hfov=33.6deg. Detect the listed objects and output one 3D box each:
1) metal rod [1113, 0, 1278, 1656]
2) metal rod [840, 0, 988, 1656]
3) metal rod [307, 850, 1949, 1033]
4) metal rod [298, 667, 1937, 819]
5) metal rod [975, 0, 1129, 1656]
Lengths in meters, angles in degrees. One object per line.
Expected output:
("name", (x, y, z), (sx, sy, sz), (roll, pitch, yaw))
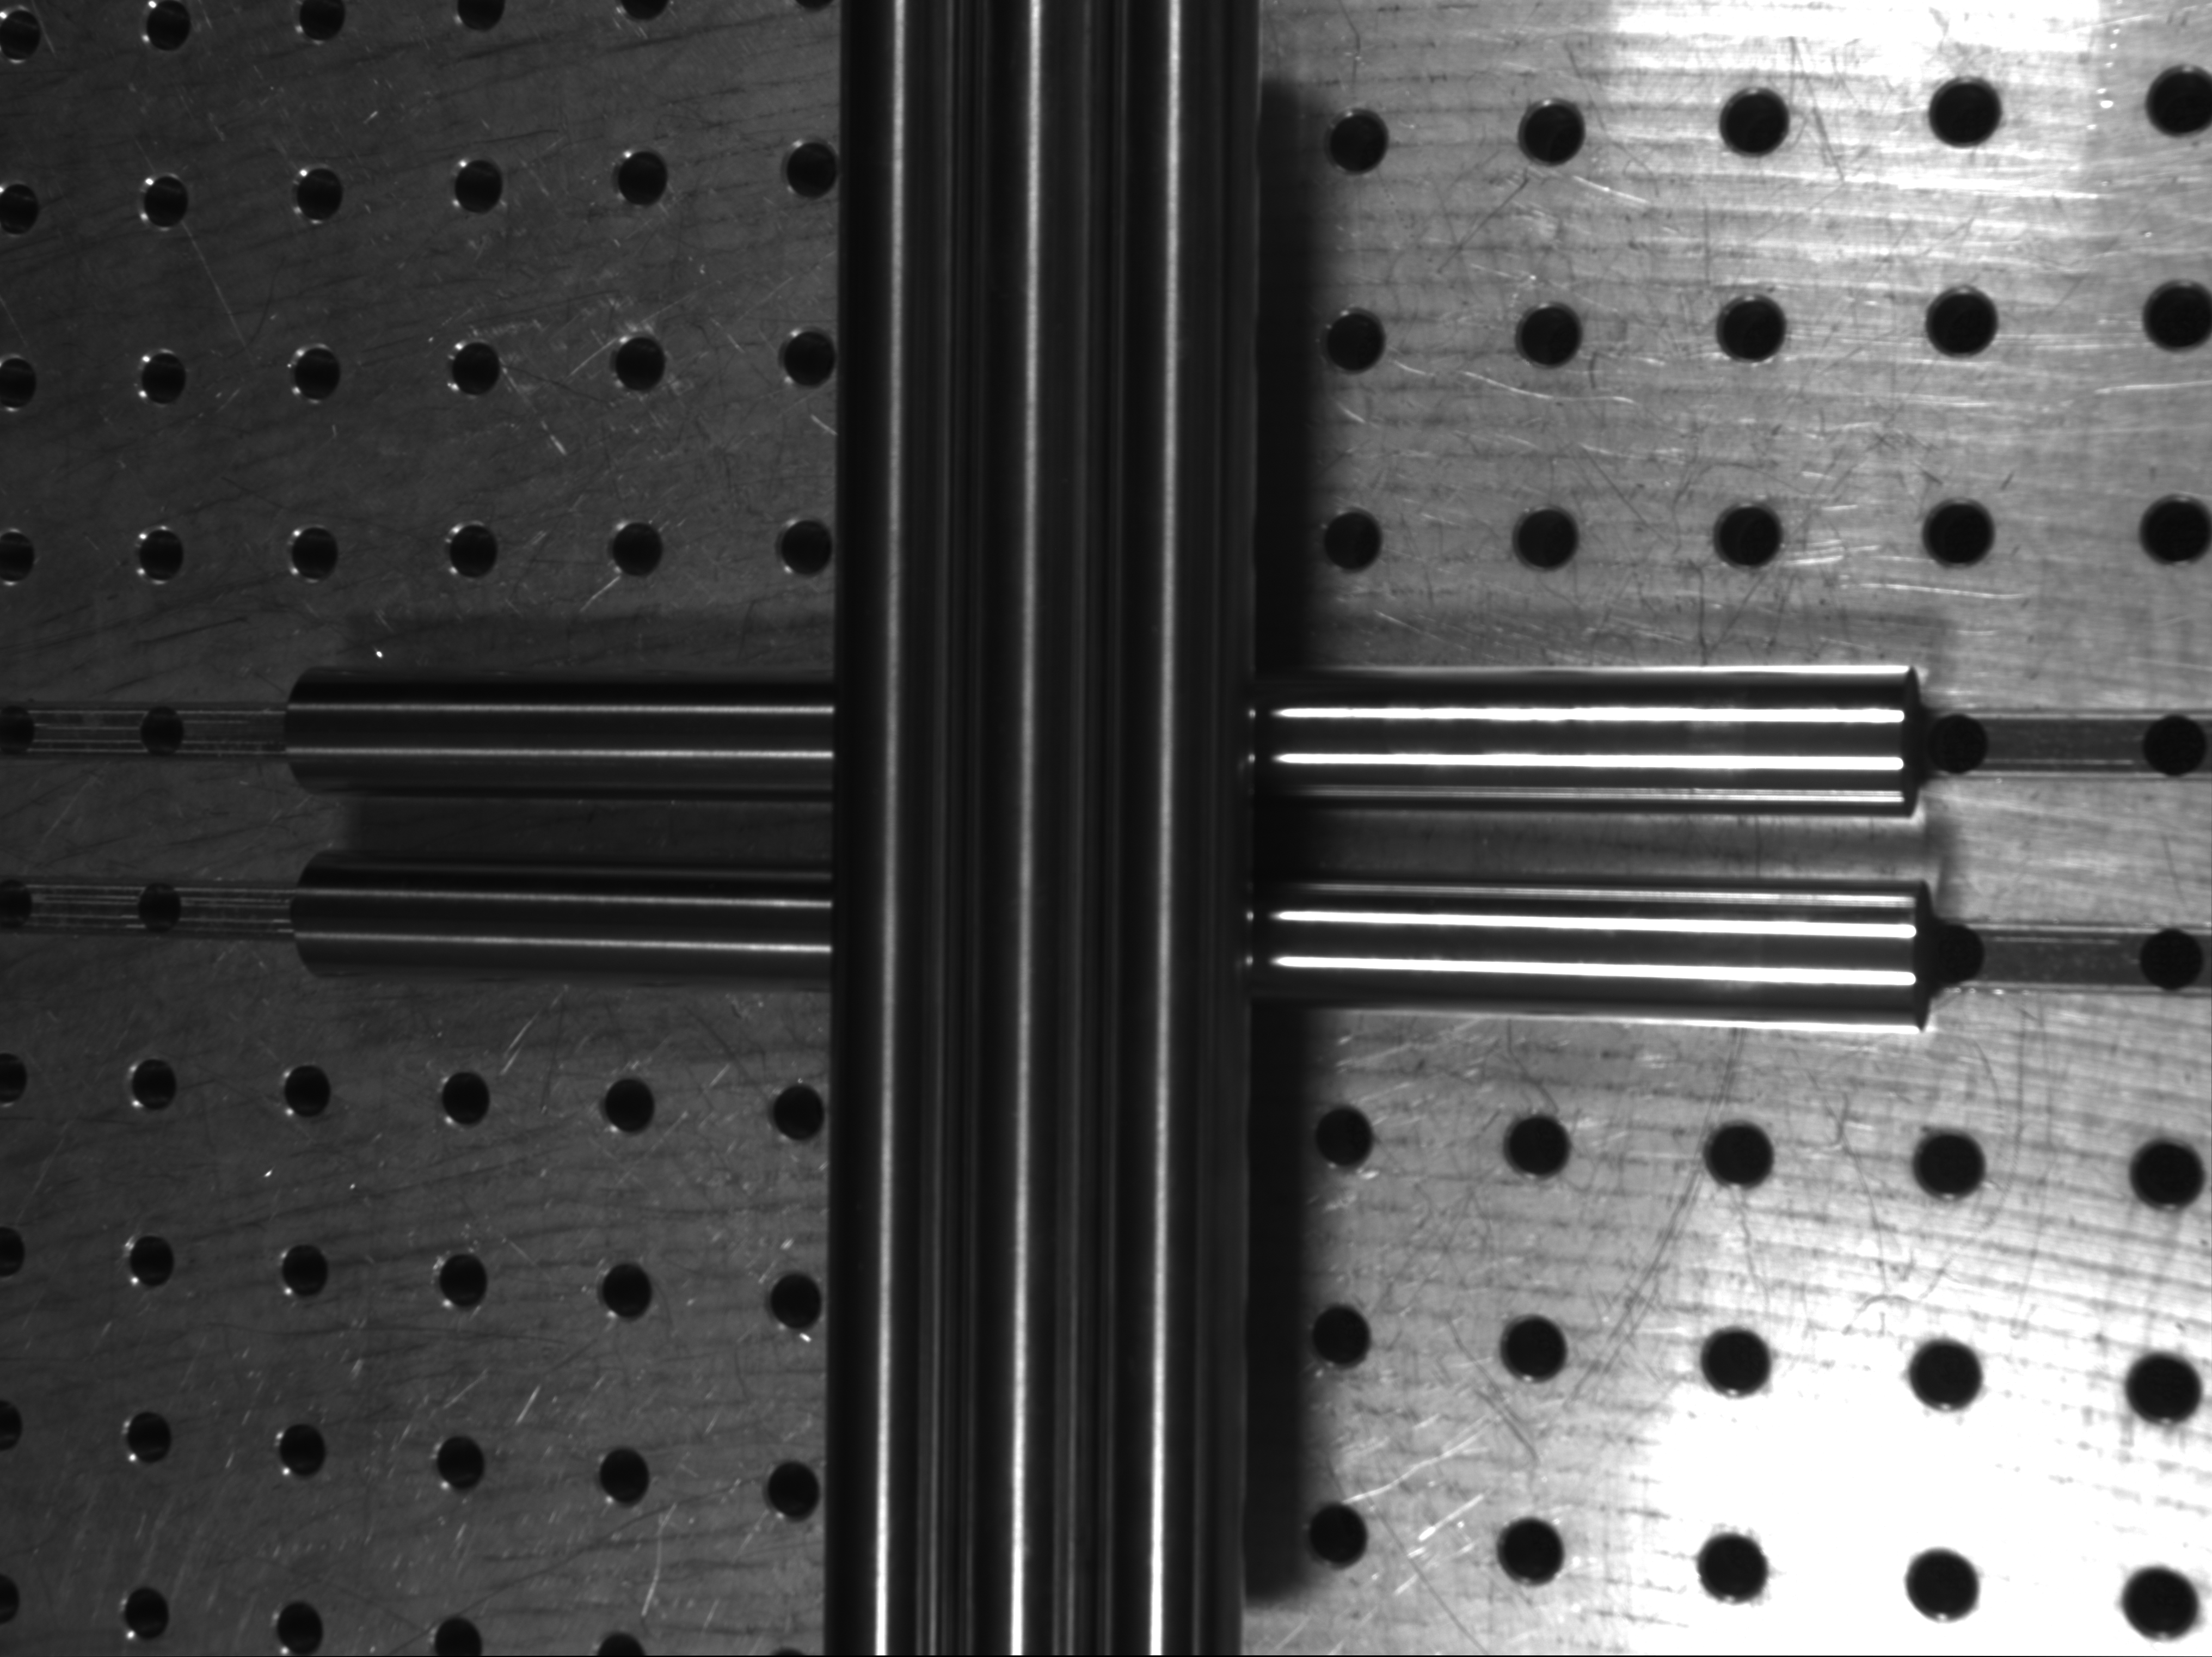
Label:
("metal rod", (0.015, 0.001, 0.615), (0.025, 0.025, 0.300), (1, 90, 20))
("metal rod", (-0.032, 0.003, 0.632), (0.025, 0.025, 0.300), (1, 90, 20))
("metal rod", (-0.005, 0.019, 0.649), (0.299, 0.025, 0.025), (1, 90, 20))
("metal rod", (-0.007, -0.016, 0.649), (0.299, 0.025, 0.025), (1, 90, 20))
("metal rod", (-0.008, 0.002, 0.624), (0.025, 0.025, 0.300), (1, 90, 20))
